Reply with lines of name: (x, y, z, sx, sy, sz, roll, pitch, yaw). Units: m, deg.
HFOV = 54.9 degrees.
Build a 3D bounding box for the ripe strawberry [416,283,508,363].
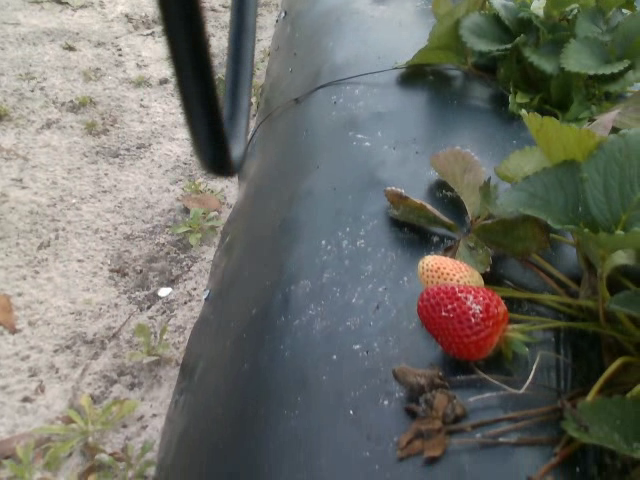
ripe strawberry: (0.060, 0.031, 0.260, 0.042, 0.034, 0.033, 36, -30, -1)
